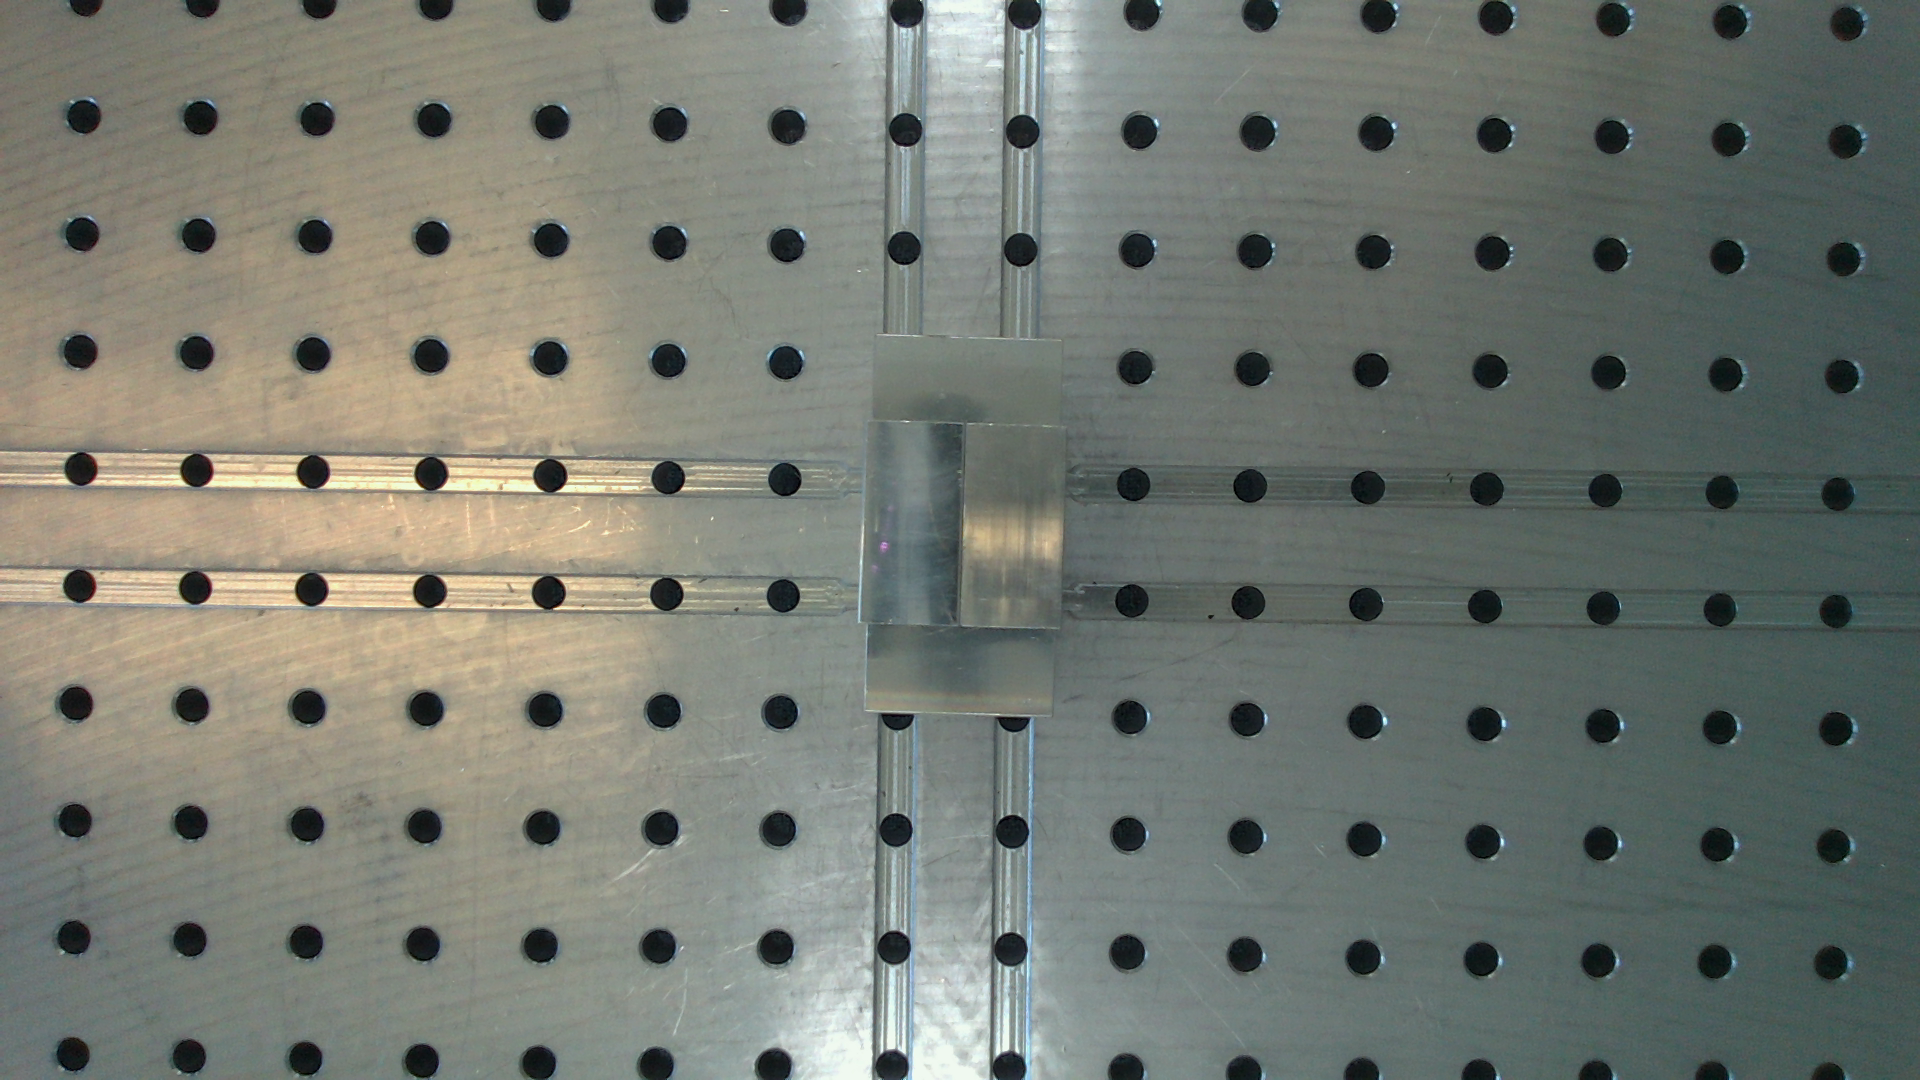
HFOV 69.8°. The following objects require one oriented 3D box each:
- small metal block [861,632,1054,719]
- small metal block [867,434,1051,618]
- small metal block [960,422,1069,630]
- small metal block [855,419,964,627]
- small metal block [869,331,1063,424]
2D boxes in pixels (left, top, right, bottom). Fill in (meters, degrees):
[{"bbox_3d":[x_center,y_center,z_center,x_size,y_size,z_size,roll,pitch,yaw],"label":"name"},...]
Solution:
[{"bbox_3d":[0.000,0.034,0.385,0.050,0.050,0.025,2,90,0],"label":"small metal block"},{"bbox_3d":[0.000,-0.004,0.397,0.050,0.025,0.050,2,90,1],"label":"small metal block"},{"bbox_3d":[0.014,-0.003,0.360,0.025,0.050,0.050,2,90,1],"label":"small metal block"},{"bbox_3d":[-0.012,-0.004,0.360,0.025,0.050,0.050,2,90,0],"label":"small metal block"},{"bbox_3d":[0.002,-0.041,0.384,0.050,0.050,0.025,2,90,0],"label":"small metal block"}]
